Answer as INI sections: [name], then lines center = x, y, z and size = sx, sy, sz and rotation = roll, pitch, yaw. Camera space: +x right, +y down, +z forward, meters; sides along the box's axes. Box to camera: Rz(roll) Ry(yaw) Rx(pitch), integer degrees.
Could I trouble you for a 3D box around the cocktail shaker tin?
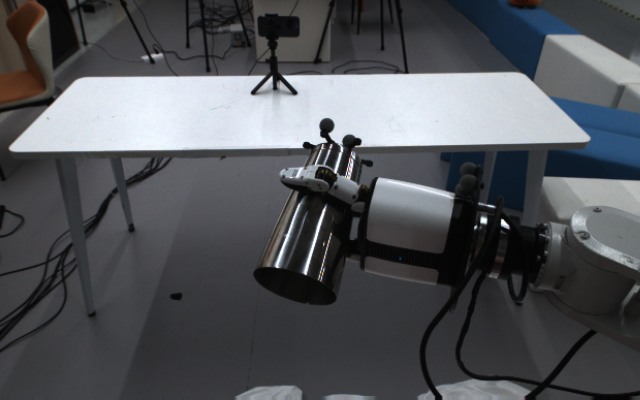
[cocktail shaker tin]
center = -0.002, 0.021, 0.544
size = 0.093, 0.093, 0.170
rotation = 11, 60, 13
